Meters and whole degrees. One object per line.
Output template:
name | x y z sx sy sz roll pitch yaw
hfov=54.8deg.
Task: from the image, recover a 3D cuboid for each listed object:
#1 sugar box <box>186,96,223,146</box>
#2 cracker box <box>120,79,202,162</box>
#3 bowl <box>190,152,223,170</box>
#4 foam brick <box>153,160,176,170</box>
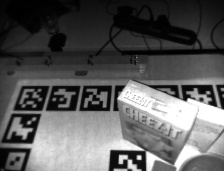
sugar box | 0.220 0.090 0.545 0.092 0.178 0.045 16 59 18
cracker box | 0.107 0.095 0.533 0.162 0.215 0.072 24 60 21
bowl | 0.247 0.238 0.502 0.161 0.055 0.161 -3 56 5
foam brick | 0.127 0.218 0.533 0.052 0.078 0.051 11 57 15
